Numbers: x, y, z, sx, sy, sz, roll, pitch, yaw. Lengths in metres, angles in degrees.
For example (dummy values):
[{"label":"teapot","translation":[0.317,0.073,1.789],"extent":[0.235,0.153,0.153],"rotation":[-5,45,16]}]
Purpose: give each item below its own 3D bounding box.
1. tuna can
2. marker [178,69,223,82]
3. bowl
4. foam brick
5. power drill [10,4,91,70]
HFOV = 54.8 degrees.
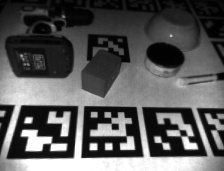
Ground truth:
[{"label":"tuna can","translation":[0.120,-0.070,0.497],"extent":[0.086,0.034,0.085],"rotation":[6,51,-6]},{"label":"marker","translation":[0.206,-0.023,0.480],"extent":[0.122,0.020,0.019],"rotation":[-6,54,-13]},{"label":"bowl","translation":[0.164,-0.169,0.583],"extent":[0.162,0.055,0.161],"rotation":[2,44,-1]},{"label":"foam brick","translation":[-0.022,-0.026,0.440],"extent":[0.051,0.053,0.078],"rotation":[21,53,8]},{"label":"power drill","translation":[-0.140,-0.119,0.492],"extent":[0.185,0.057,0.186],"rotation":[3,49,-10]}]
